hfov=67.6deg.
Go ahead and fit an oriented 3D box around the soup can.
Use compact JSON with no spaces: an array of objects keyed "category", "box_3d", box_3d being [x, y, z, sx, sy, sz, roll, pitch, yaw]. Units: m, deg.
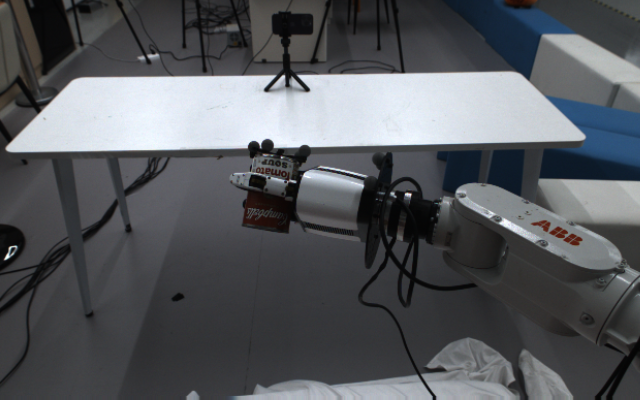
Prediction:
[{"category":"soup can","box_3d":[-0.068,-0.007,0.680,0.067,0.101,0.067,9,-6,1]}]
